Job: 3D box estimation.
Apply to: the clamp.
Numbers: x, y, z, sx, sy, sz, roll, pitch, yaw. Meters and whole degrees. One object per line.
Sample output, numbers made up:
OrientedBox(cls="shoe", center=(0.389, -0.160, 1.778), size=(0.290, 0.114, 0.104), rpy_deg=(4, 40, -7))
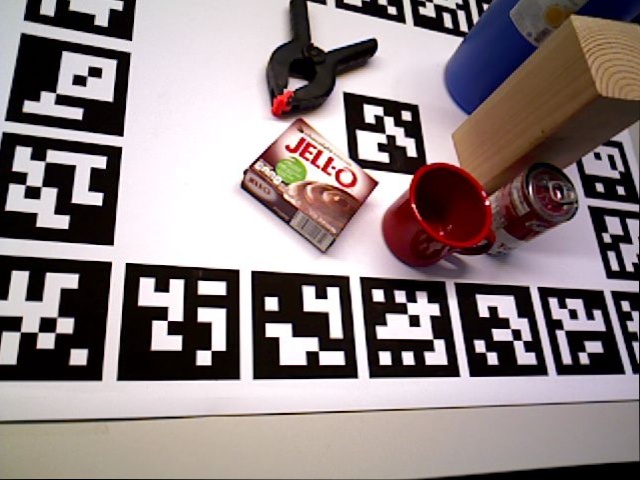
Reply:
OrientedBox(cls="clamp", center=(-0.011, -0.201, 0.613), size=(0.121, 0.037, 0.162), rpy_deg=(34, 61, -13))

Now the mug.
OrientedBox(cls="mug", center=(0.126, -0.011, 0.550), size=(0.117, 0.083, 0.091), rpy_deg=(36, 57, -2))

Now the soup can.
OrientedBox(cls="soup can", center=(0.215, -0.027, 0.577), size=(0.067, 0.104, 0.067), rpy_deg=(7, 68, -18))

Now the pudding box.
OrientedBox(cls="pudding box", center=(-0.018, -0.056, 0.543), size=(0.114, 0.039, 0.088), rpy_deg=(38, 63, -1))

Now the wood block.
OrientedBox(cls="wood block", center=(0.243, -0.129, 0.569), size=(0.088, 0.211, 0.090), rpy_deg=(2, 66, -24))

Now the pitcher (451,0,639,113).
OrientedBox(cls="pitcher", center=(0.262, -0.245, 0.608), size=(0.186, 0.248, 0.132), rpy_deg=(3, 64, -17))
